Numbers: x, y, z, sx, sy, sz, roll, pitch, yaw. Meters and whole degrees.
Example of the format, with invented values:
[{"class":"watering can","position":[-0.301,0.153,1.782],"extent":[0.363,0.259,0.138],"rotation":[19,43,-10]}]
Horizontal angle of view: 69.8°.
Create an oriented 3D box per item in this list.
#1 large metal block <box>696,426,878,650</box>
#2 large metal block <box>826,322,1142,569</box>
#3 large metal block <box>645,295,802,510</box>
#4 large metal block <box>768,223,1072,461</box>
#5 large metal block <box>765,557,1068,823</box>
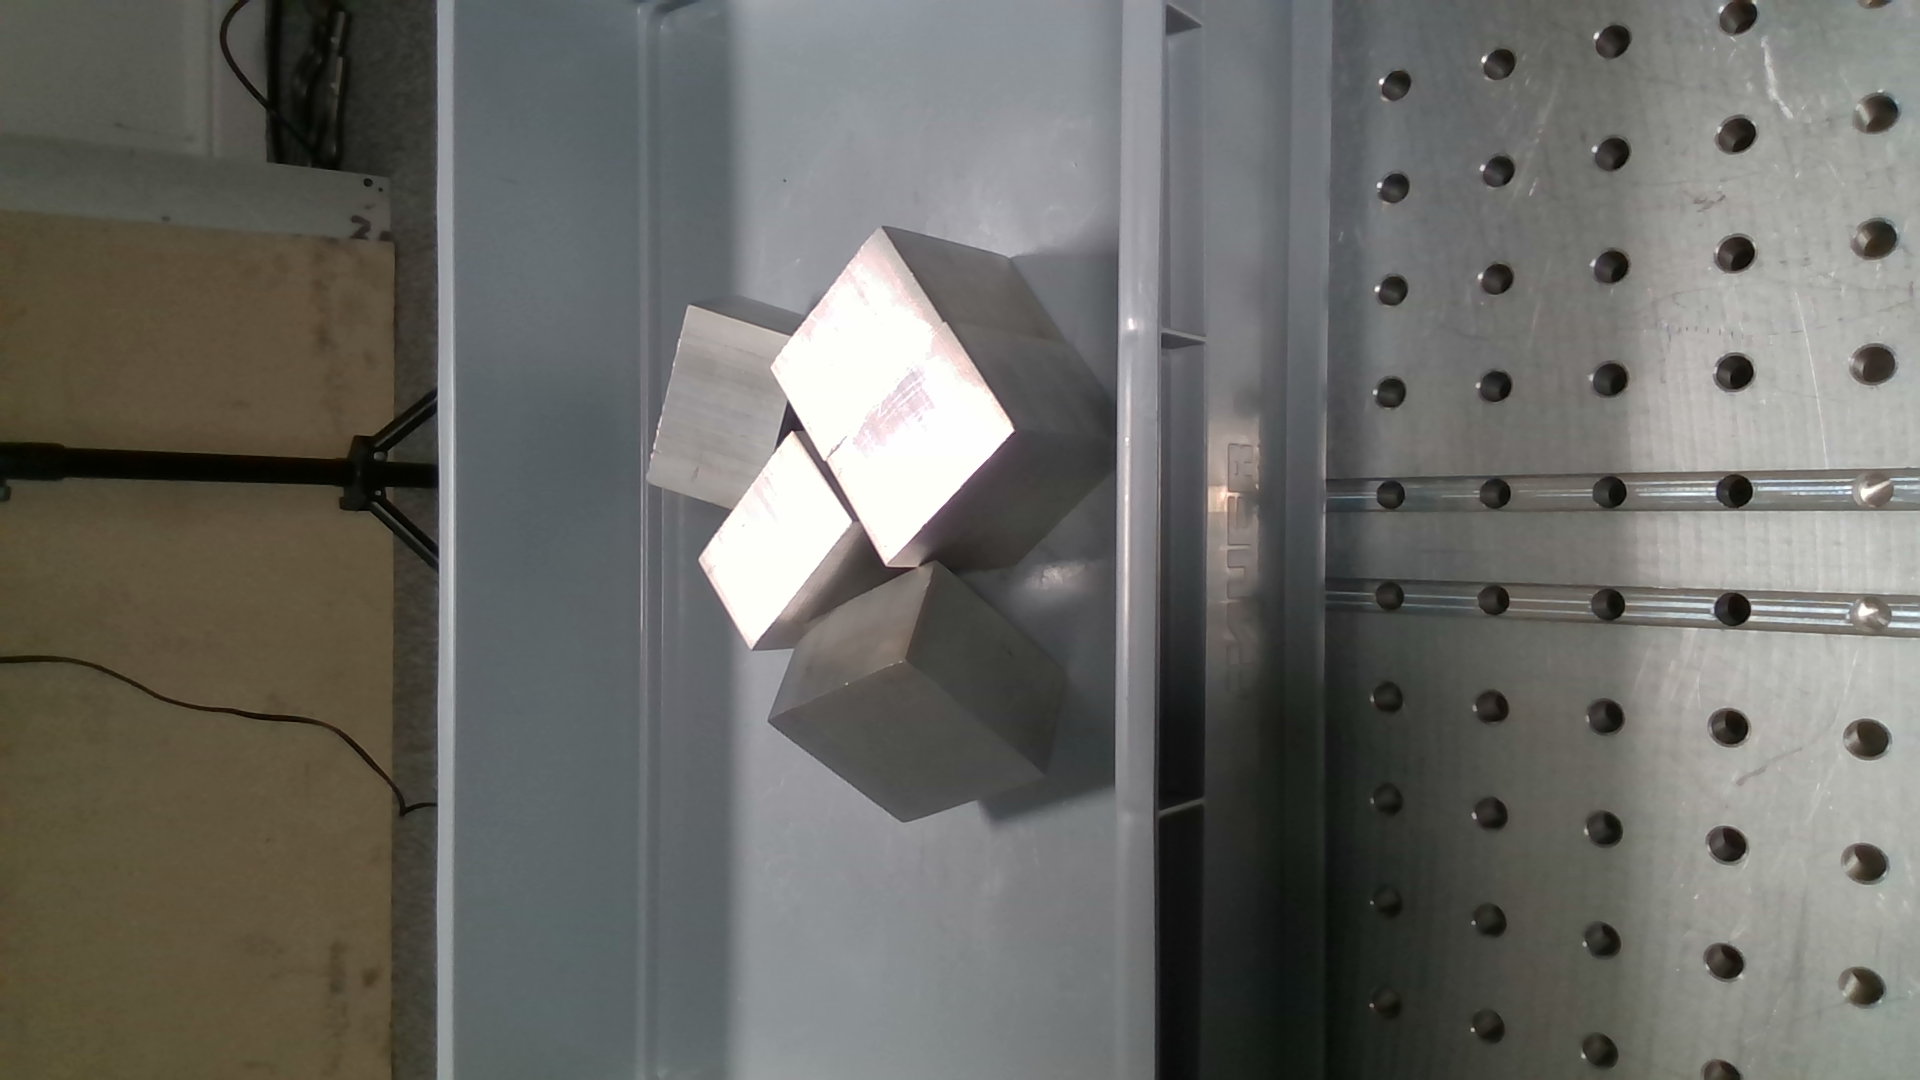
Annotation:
[{"class":"large metal block","position":[-0.051,0.000,0.587],"extent":[0.080,0.080,0.050],"rotation":[-49,61,29]},{"class":"large metal block","position":[0.009,-0.034,0.536],"extent":[0.080,0.080,0.050],"rotation":[-46,62,30]},{"class":"large metal block","position":[-0.094,-0.062,0.615],"extent":[0.050,0.080,0.080],"rotation":[18,104,3]},{"class":"large metal block","position":[-0.016,-0.075,0.558],"extent":[0.080,0.080,0.050],"rotation":[-45,63,31]},{"class":"large metal block","position":[-0.016,0.063,0.551],"extent":[0.080,0.080,0.050],"rotation":[-26,34,37]}]
